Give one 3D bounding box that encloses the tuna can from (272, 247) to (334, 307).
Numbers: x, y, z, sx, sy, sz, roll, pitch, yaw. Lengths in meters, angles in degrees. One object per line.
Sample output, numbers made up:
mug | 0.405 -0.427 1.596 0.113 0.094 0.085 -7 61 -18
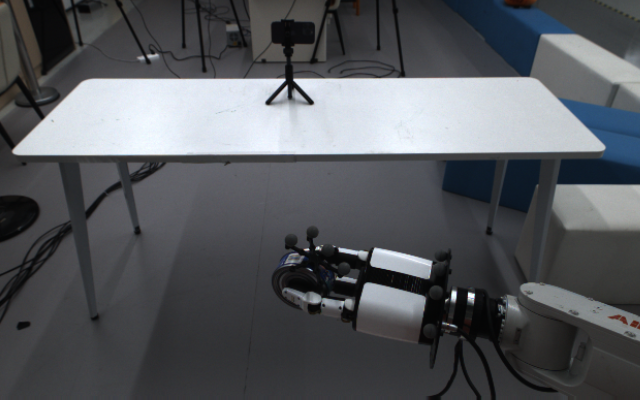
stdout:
tuna can | -0.022 0.114 0.678 0.085 0.085 0.034 12 35 14
